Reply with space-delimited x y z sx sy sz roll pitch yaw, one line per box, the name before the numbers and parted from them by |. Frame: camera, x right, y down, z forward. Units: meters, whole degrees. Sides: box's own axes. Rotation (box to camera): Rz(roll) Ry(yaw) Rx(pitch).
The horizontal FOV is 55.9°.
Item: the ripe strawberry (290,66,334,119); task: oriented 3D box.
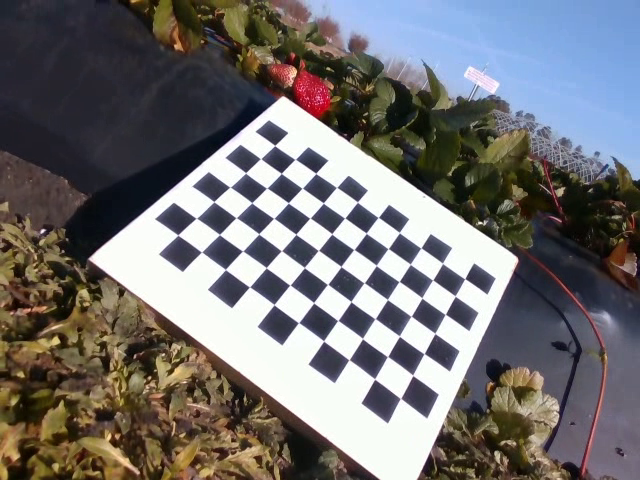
ripe strawberry | -0.014 -0.153 0.632 0.058 0.065 0.062 -17 -28 2
